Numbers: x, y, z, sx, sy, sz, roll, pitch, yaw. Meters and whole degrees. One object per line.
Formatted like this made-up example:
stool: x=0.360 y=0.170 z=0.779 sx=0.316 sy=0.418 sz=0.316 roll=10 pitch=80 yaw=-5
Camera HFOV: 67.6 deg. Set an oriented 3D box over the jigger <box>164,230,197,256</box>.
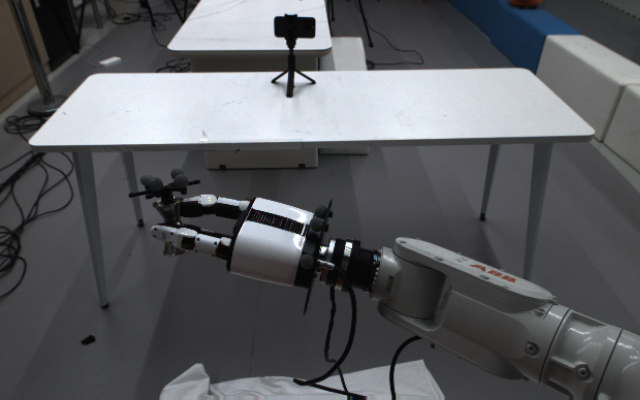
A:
jigger: x=-0.191 y=0.033 z=0.640 sx=0.043 sy=0.071 sz=0.043 roll=-9 pitch=16 yaw=2
